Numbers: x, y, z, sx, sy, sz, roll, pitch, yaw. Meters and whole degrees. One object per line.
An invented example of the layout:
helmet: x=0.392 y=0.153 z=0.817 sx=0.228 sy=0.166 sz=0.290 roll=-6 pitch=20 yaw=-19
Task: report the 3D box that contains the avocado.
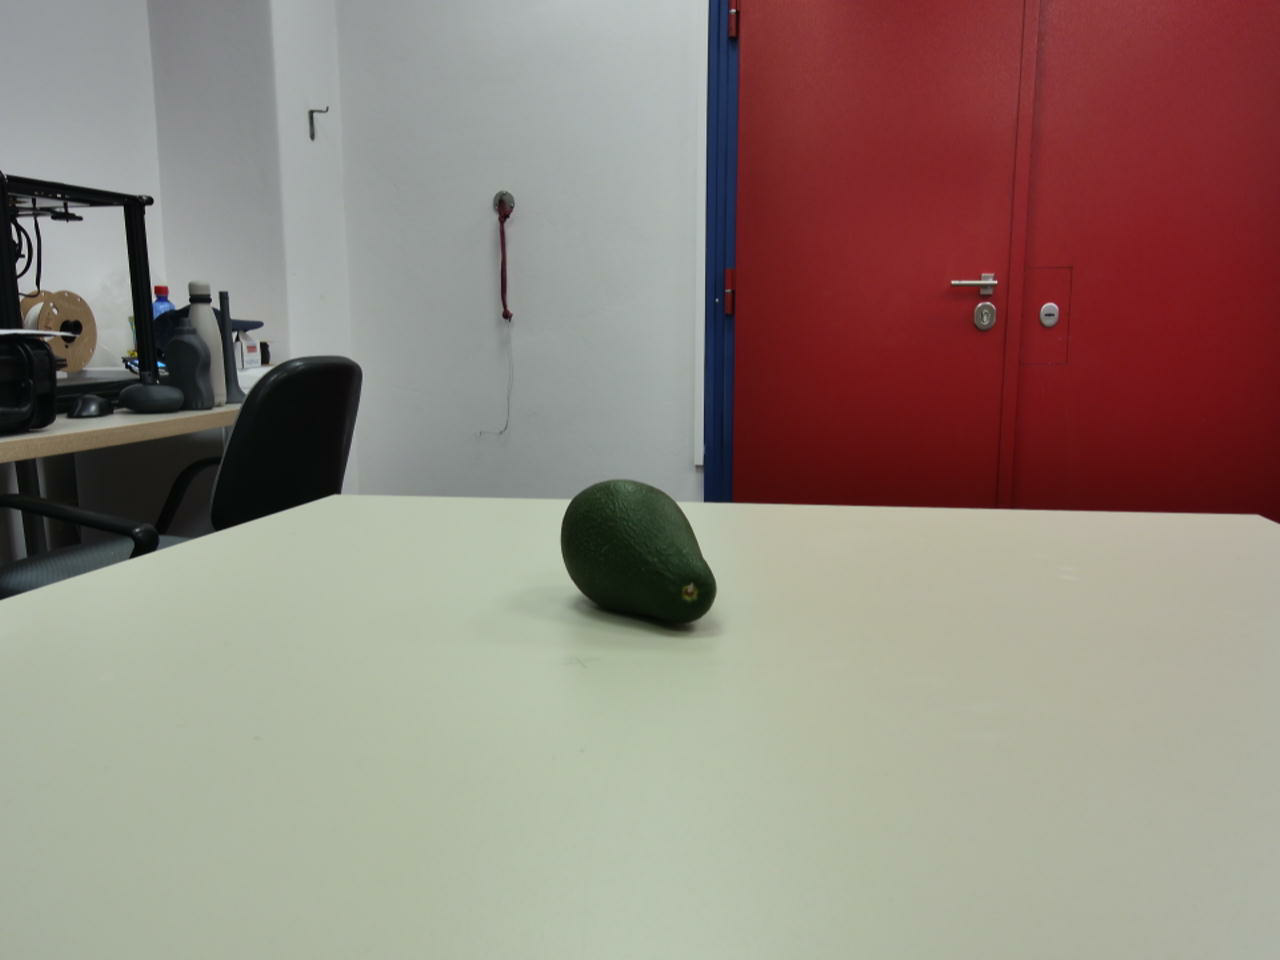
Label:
avocado: x=-0.004 y=0.036 z=0.534 sx=0.072 sy=0.071 sz=0.109 roll=-2 pitch=6 yaw=-11
